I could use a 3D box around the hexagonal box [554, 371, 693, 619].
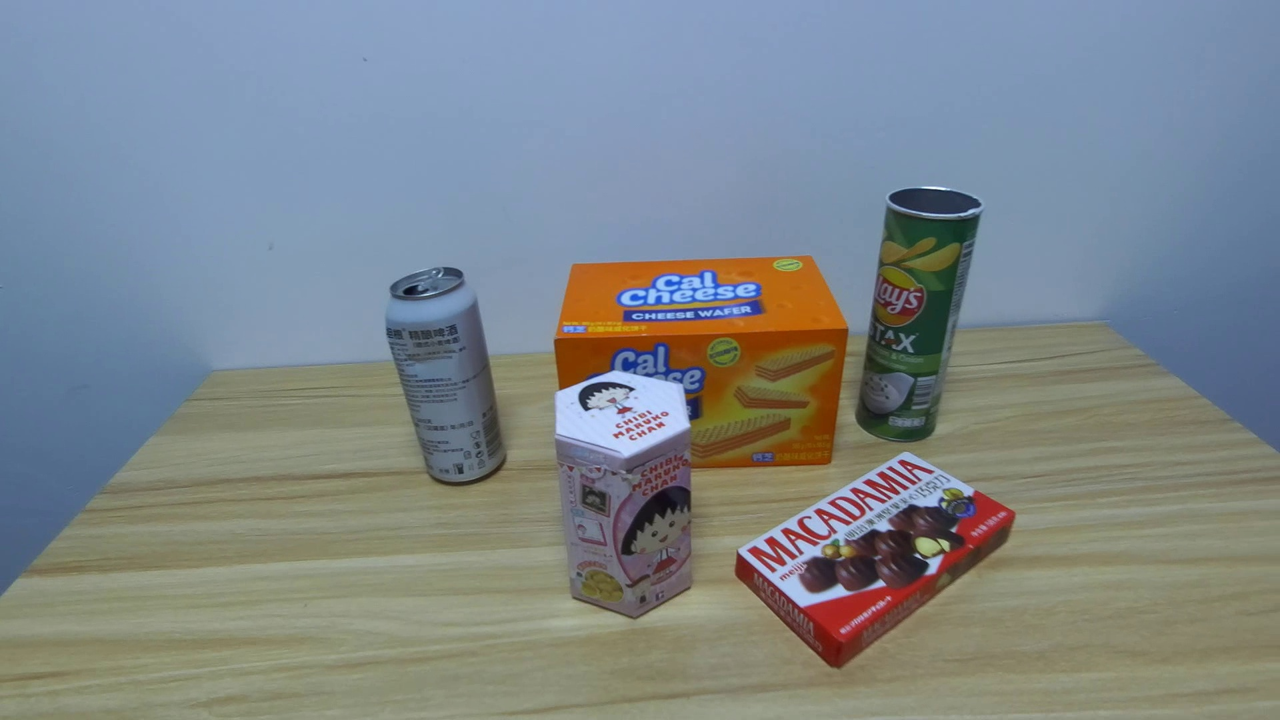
[{"bbox_3d":[-0.008,0.086,0.451,0.091,0.136,0.083,-21,35,-29],"label":"hexagonal box"}]

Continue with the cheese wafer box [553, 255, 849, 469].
[{"bbox_3d":[0.048,-0.001,0.606,0.222,0.129,0.148,-1,31,0],"label":"cheese wafer box"}]

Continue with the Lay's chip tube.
[{"bbox_3d":[0.223,-0.034,0.576,0.071,0.203,0.071,-2,30,1],"label":"Lay's chip tube"}]

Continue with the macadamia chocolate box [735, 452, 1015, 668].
[{"bbox_3d":[0.162,0.126,0.483,0.178,0.027,0.095,-21,34,-28],"label":"macadamia chocolate box"}]

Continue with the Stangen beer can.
[{"bbox_3d":[-0.153,0.013,0.558,0.070,0.173,0.069,-11,29,-13],"label":"Stangen beer can"}]
